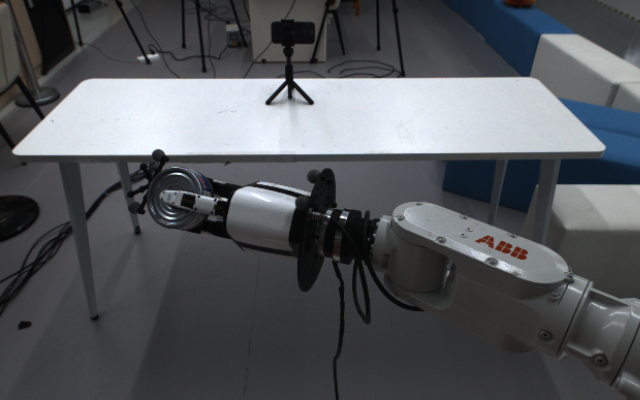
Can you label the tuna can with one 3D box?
[{"bbox_3d":[-0.189,-0.003,0.657,0.085,0.085,0.034,12,-3,14],"label":"tuna can"}]
